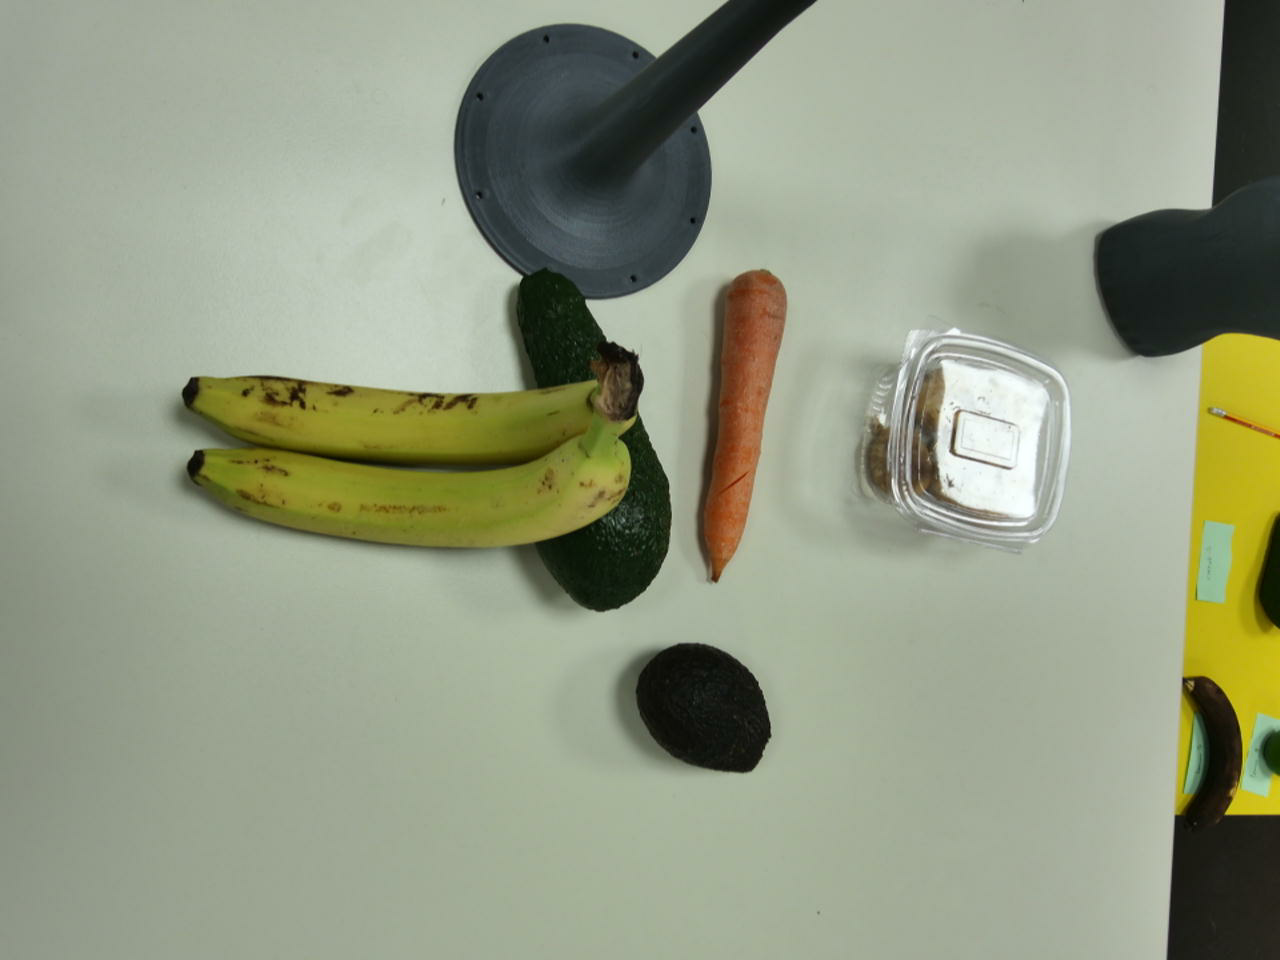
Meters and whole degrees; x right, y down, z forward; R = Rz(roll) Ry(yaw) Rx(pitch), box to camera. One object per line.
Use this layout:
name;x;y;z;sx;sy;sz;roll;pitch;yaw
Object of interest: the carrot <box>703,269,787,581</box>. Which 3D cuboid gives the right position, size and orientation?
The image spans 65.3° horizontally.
carrot;0.065;-0.033;0.620;0.039;0.041;0.196;6;88;-22
